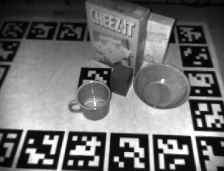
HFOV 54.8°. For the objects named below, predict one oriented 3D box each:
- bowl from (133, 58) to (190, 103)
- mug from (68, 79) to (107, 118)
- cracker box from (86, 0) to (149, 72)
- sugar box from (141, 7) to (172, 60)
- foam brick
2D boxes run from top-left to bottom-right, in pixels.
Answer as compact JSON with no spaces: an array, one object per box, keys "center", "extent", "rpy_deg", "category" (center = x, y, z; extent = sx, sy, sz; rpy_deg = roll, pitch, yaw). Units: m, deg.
[{"center":[0.141,-0.002,0.622],"extent":[0.161,0.055,0.161],"rpy_deg":[0,57,1],"category":"bowl"},{"center":[-0.068,0.036,0.590],"extent":[0.117,0.082,0.092],"rpy_deg":[-6,48,-1],"category":"mug"},{"center":[0.011,-0.156,0.645],"extent":[0.163,0.214,0.072],"rpy_deg":[28,59,18],"category":"cracker box"},{"center":[0.123,-0.152,0.663],"extent":[0.092,0.177,0.045],"rpy_deg":[20,59,15],"category":"sugar box"},{"center":[0.021,-0.031,0.647],"extent":[0.052,0.078,0.051],"rpy_deg":[15,57,13],"category":"foam brick"}]
